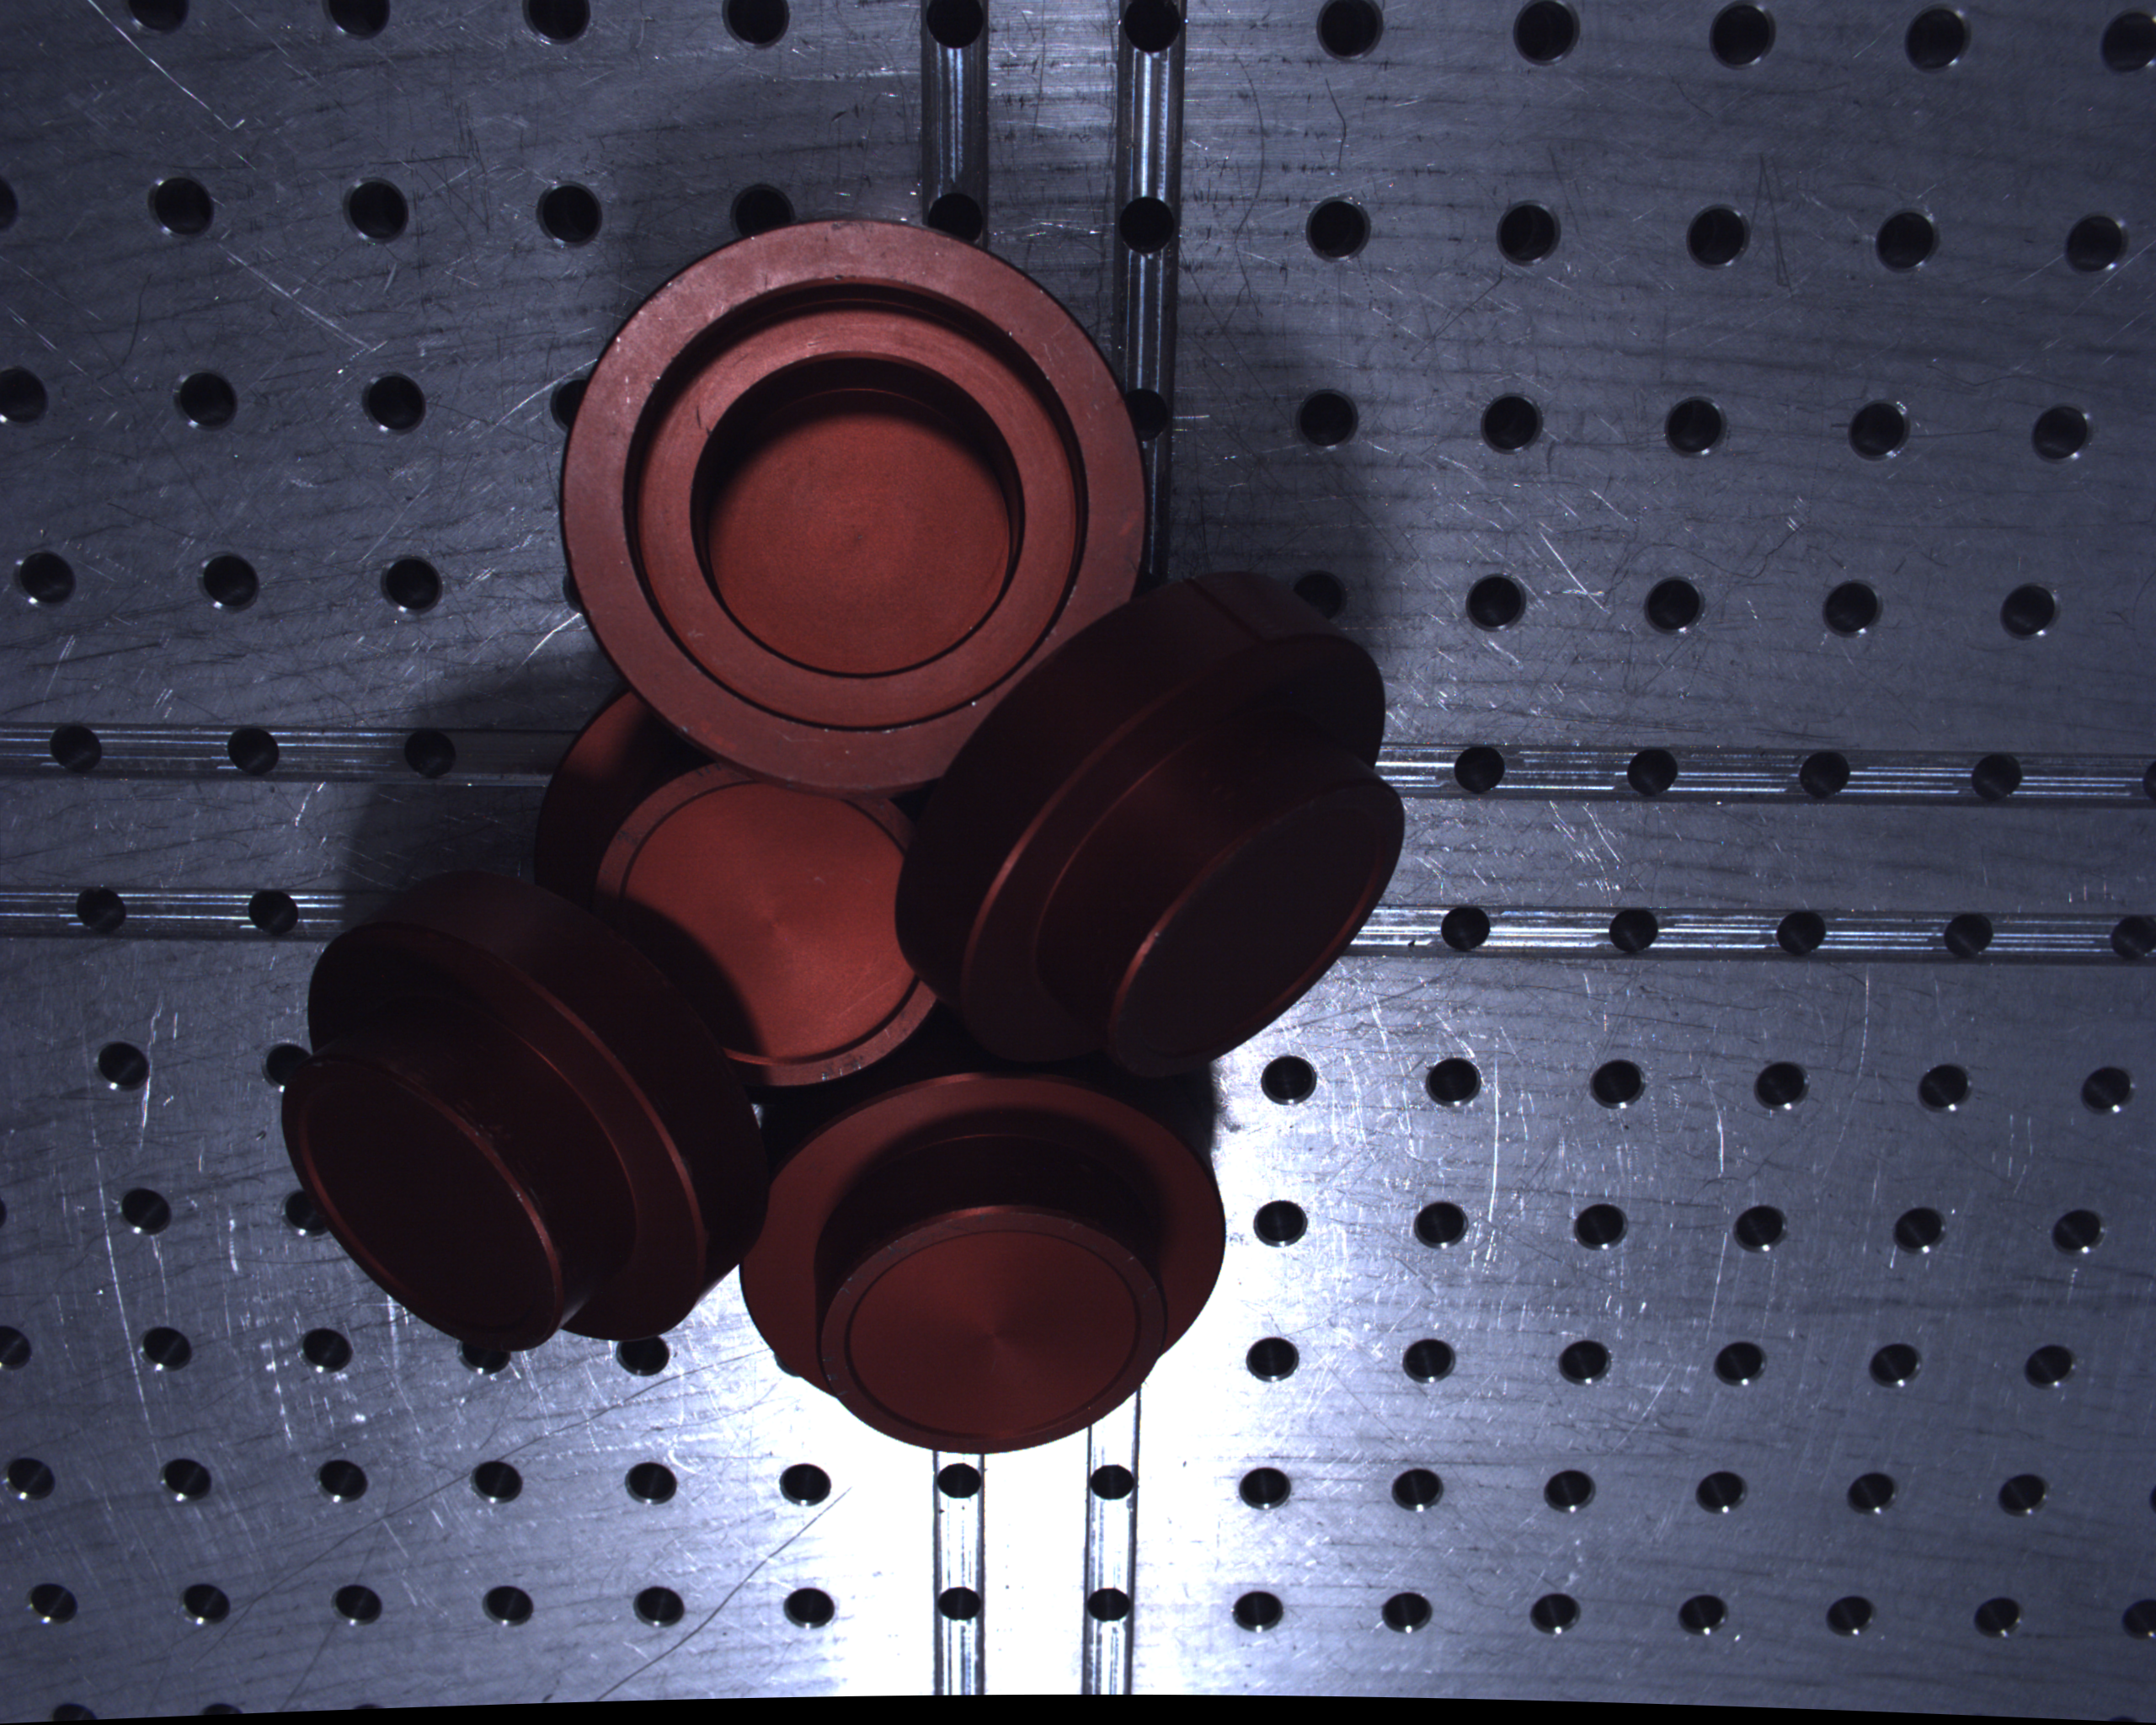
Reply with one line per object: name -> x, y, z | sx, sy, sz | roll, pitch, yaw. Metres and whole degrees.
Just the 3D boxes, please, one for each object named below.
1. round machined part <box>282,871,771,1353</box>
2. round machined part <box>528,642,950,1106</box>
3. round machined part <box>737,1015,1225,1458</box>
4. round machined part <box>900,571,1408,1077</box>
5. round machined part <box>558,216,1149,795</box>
round machined part -> -0.111, 0.054, 0.397 | 0.098, 0.042, 0.097 | 17, 128, 24
round machined part -> -0.057, 0.004, 0.404 | 0.099, 0.042, 0.097 | 0, 110, -1
round machined part -> -0.019, 0.081, 0.421 | 0.099, 0.042, 0.097 | -3, 122, -5
round machined part -> 0.020, 0.000, 0.373 | 0.042, 0.099, 0.098 | 45, 109, 28
round machined part -> -0.039, -0.060, 0.370 | 0.099, 0.042, 0.097 | 0, 89, -6
